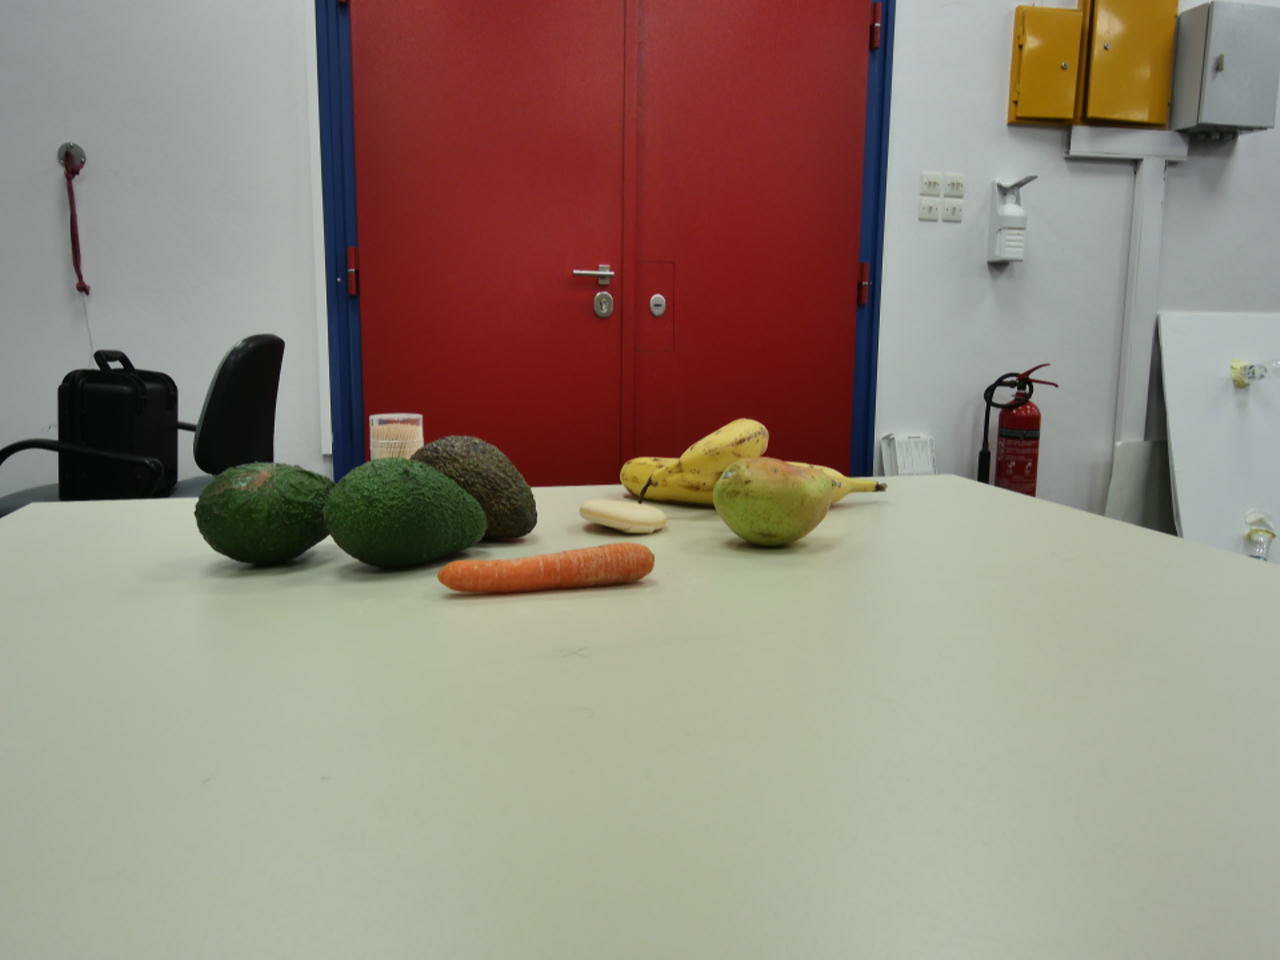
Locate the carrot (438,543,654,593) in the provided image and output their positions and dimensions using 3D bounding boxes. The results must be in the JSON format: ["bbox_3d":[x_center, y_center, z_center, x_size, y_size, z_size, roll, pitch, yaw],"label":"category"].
[{"bbox_3d":[-0.051,0.050,0.565,0.122,0.023,0.024,-2,7,-16],"label":"carrot"}]
